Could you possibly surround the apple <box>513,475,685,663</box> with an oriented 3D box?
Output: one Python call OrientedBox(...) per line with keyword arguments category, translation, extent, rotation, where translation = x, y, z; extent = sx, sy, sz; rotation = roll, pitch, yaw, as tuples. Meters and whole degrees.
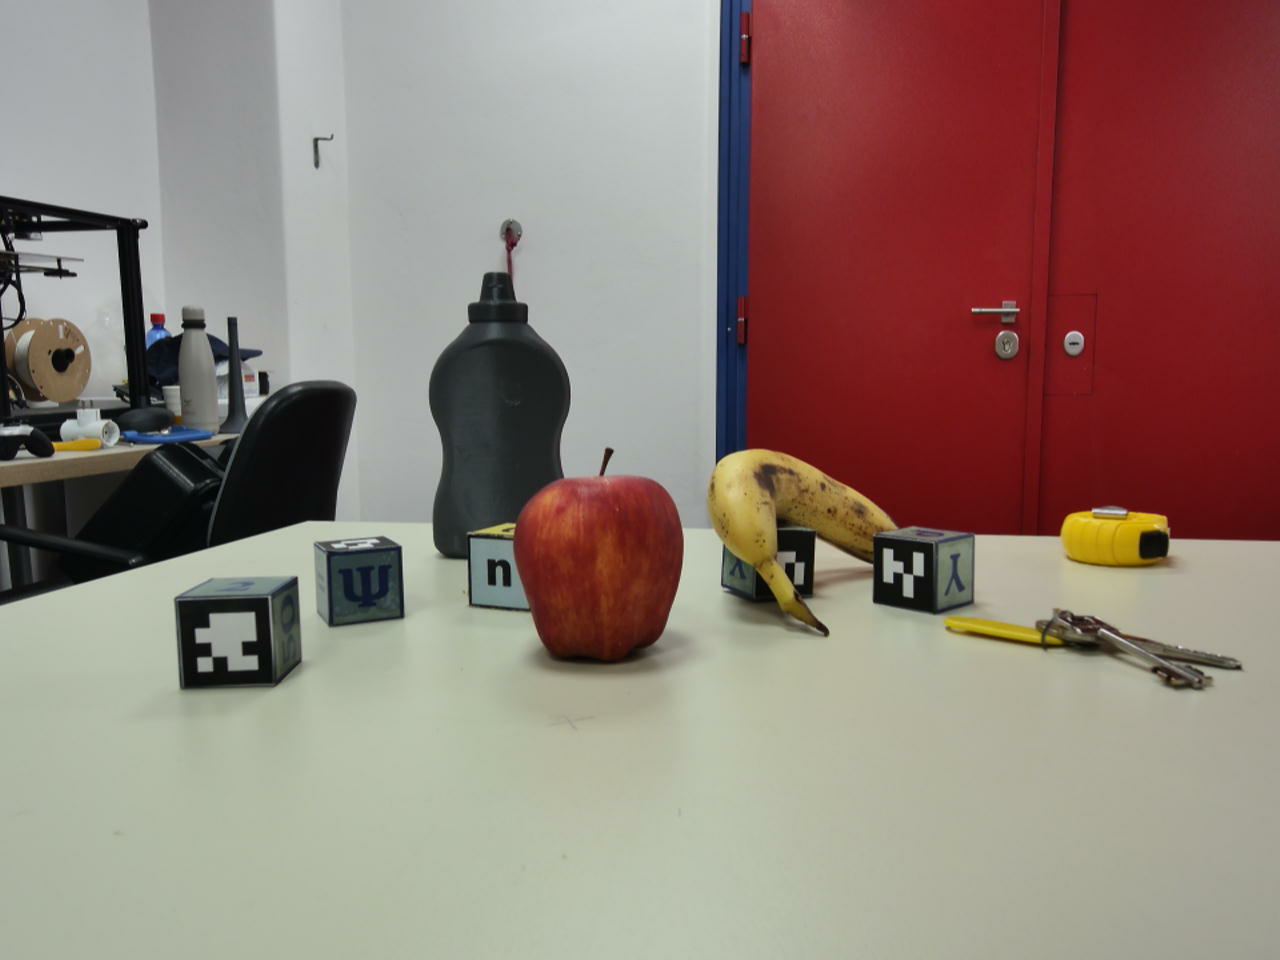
OrientedBox(category="apple", translation=(-0.019, 0.031, 0.443), extent=(0.083, 0.090, 0.083), rotation=(-2, 4, 0))
